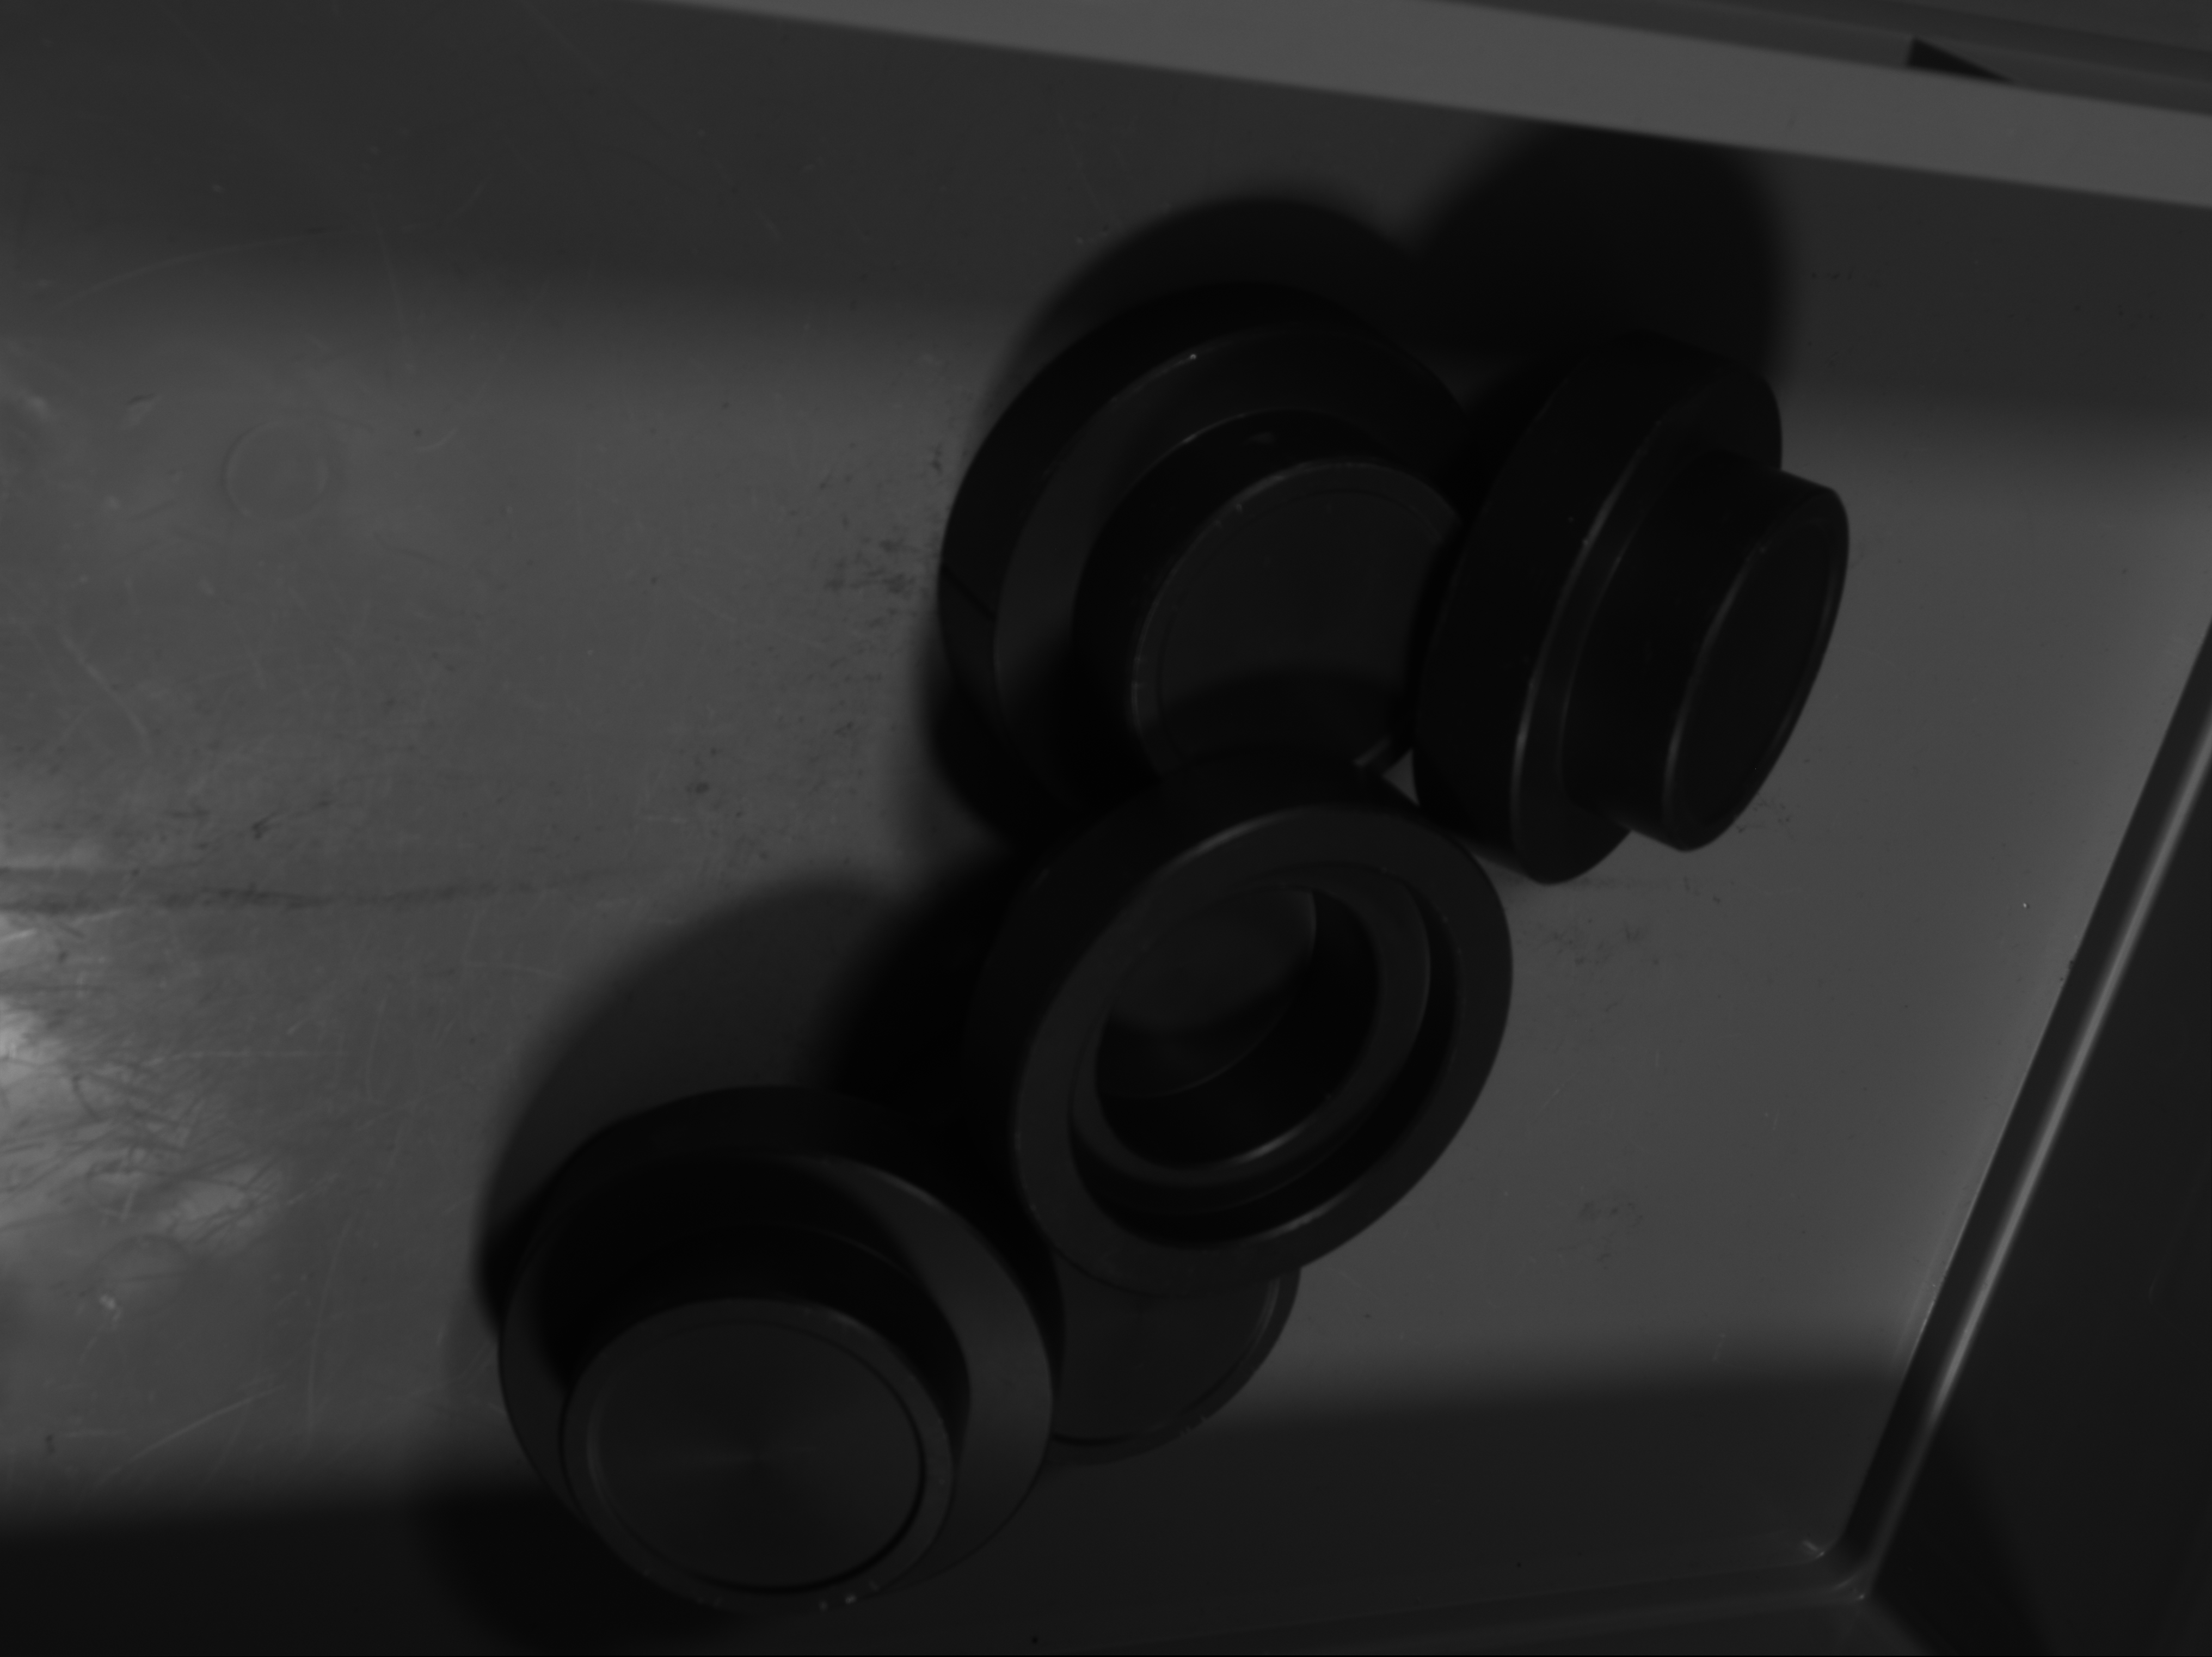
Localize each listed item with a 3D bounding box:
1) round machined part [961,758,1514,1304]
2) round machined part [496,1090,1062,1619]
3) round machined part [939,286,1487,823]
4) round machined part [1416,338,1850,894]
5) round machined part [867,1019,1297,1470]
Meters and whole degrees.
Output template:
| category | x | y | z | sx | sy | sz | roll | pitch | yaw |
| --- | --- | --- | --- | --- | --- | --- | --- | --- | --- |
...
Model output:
| category | x | y | z | sx | sy | sz | roll | pitch | yaw |
| --- | --- | --- | --- | --- | --- | --- | --- | --- | --- |
| round machined part | 0.019 | 0.031 | 0.640 | 0.098 | 0.042 | 0.098 | -15 | 125 | -22 |
| round machined part | -0.058 | 0.098 | 0.638 | 0.098 | 0.042 | 0.098 | 1 | 118 | 3 |
| round machined part | 0.024 | -0.040 | 0.627 | 0.098 | 0.042 | 0.098 | -15 | 125 | -22 |
| round machined part | 0.097 | -0.033 | 0.646 | 0.098 | 0.042 | 0.098 | -44 | 147 | -38 |
| round machined part | -0.003 | 0.080 | 0.686 | 0.098 | 0.042 | 0.098 | -15 | 125 | -22 |
